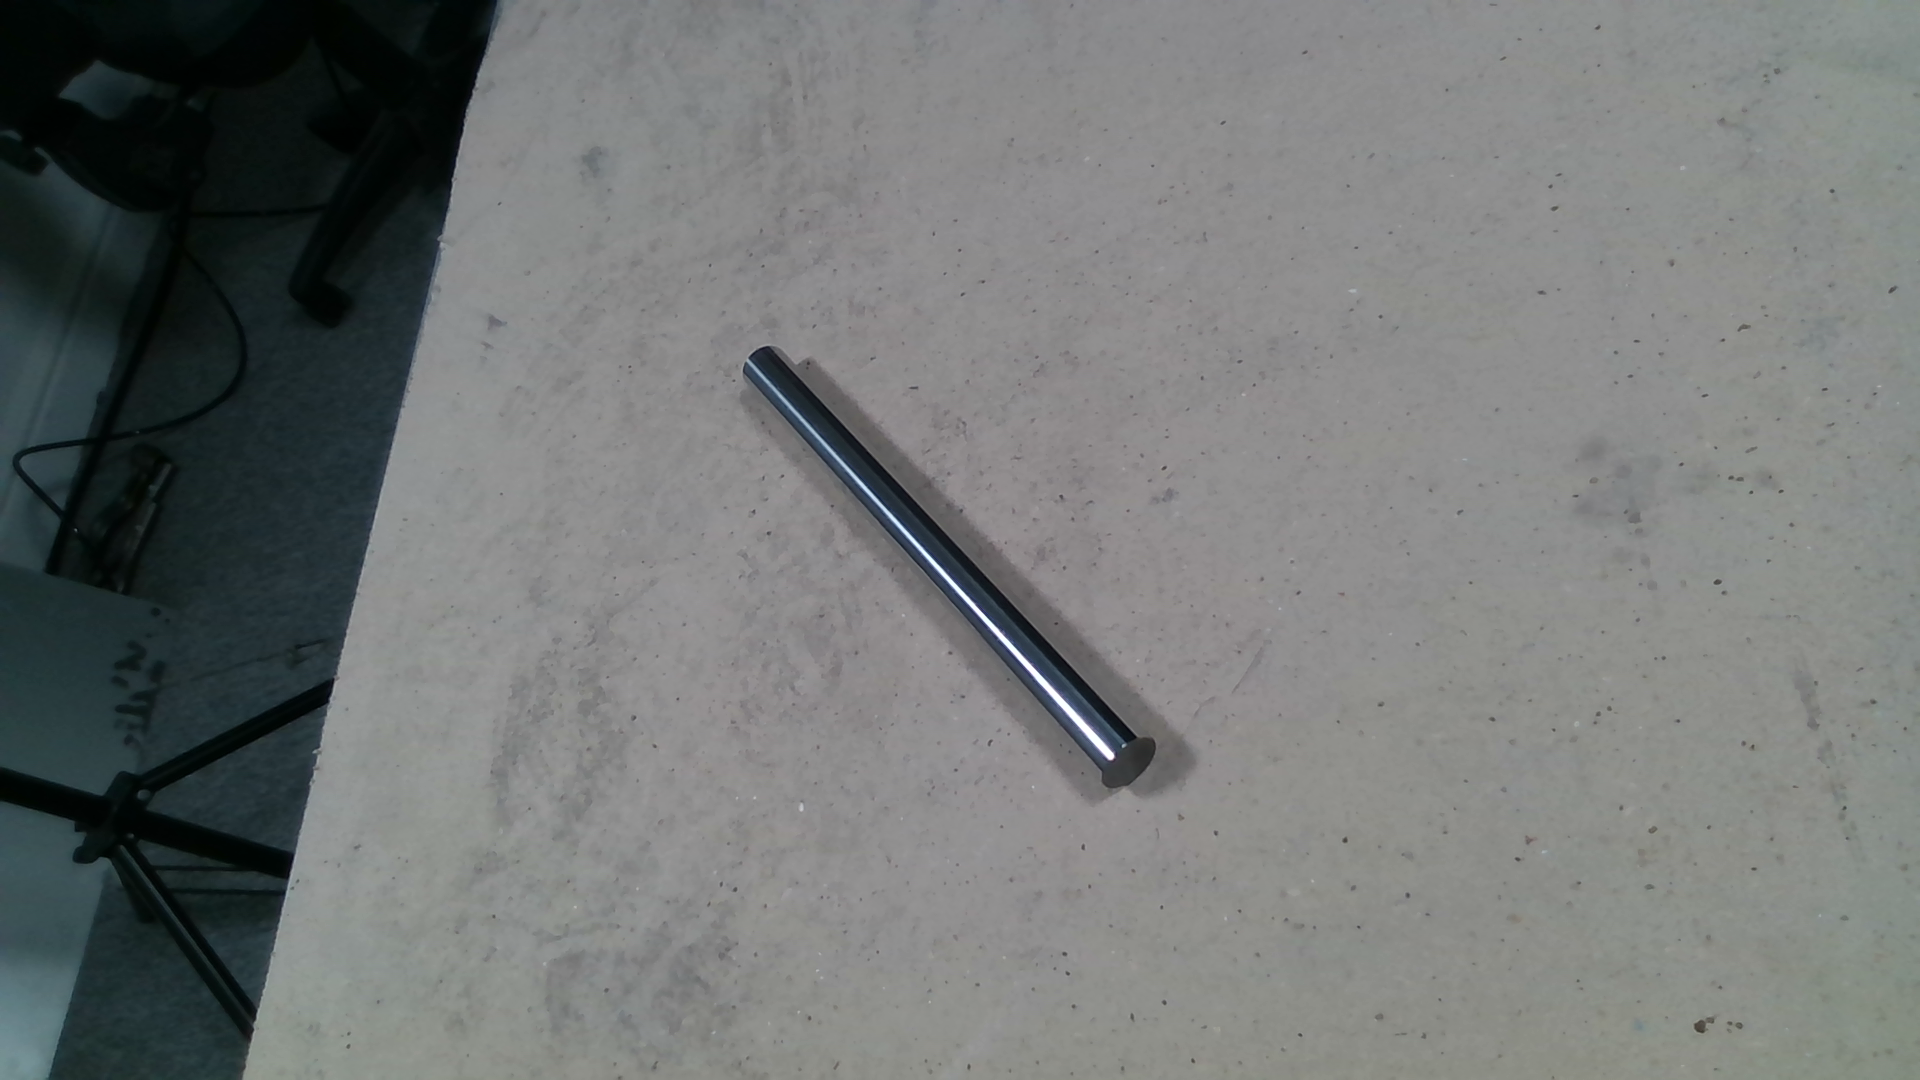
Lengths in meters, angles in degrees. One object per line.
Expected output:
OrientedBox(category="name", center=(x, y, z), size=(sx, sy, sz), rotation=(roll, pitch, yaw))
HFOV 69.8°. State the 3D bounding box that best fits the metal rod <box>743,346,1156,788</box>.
OrientedBox(category="metal rod", center=(-0.018, -0.003, 0.599), size=(0.025, 0.025, 0.299), rotation=(-46, 51, 3))
